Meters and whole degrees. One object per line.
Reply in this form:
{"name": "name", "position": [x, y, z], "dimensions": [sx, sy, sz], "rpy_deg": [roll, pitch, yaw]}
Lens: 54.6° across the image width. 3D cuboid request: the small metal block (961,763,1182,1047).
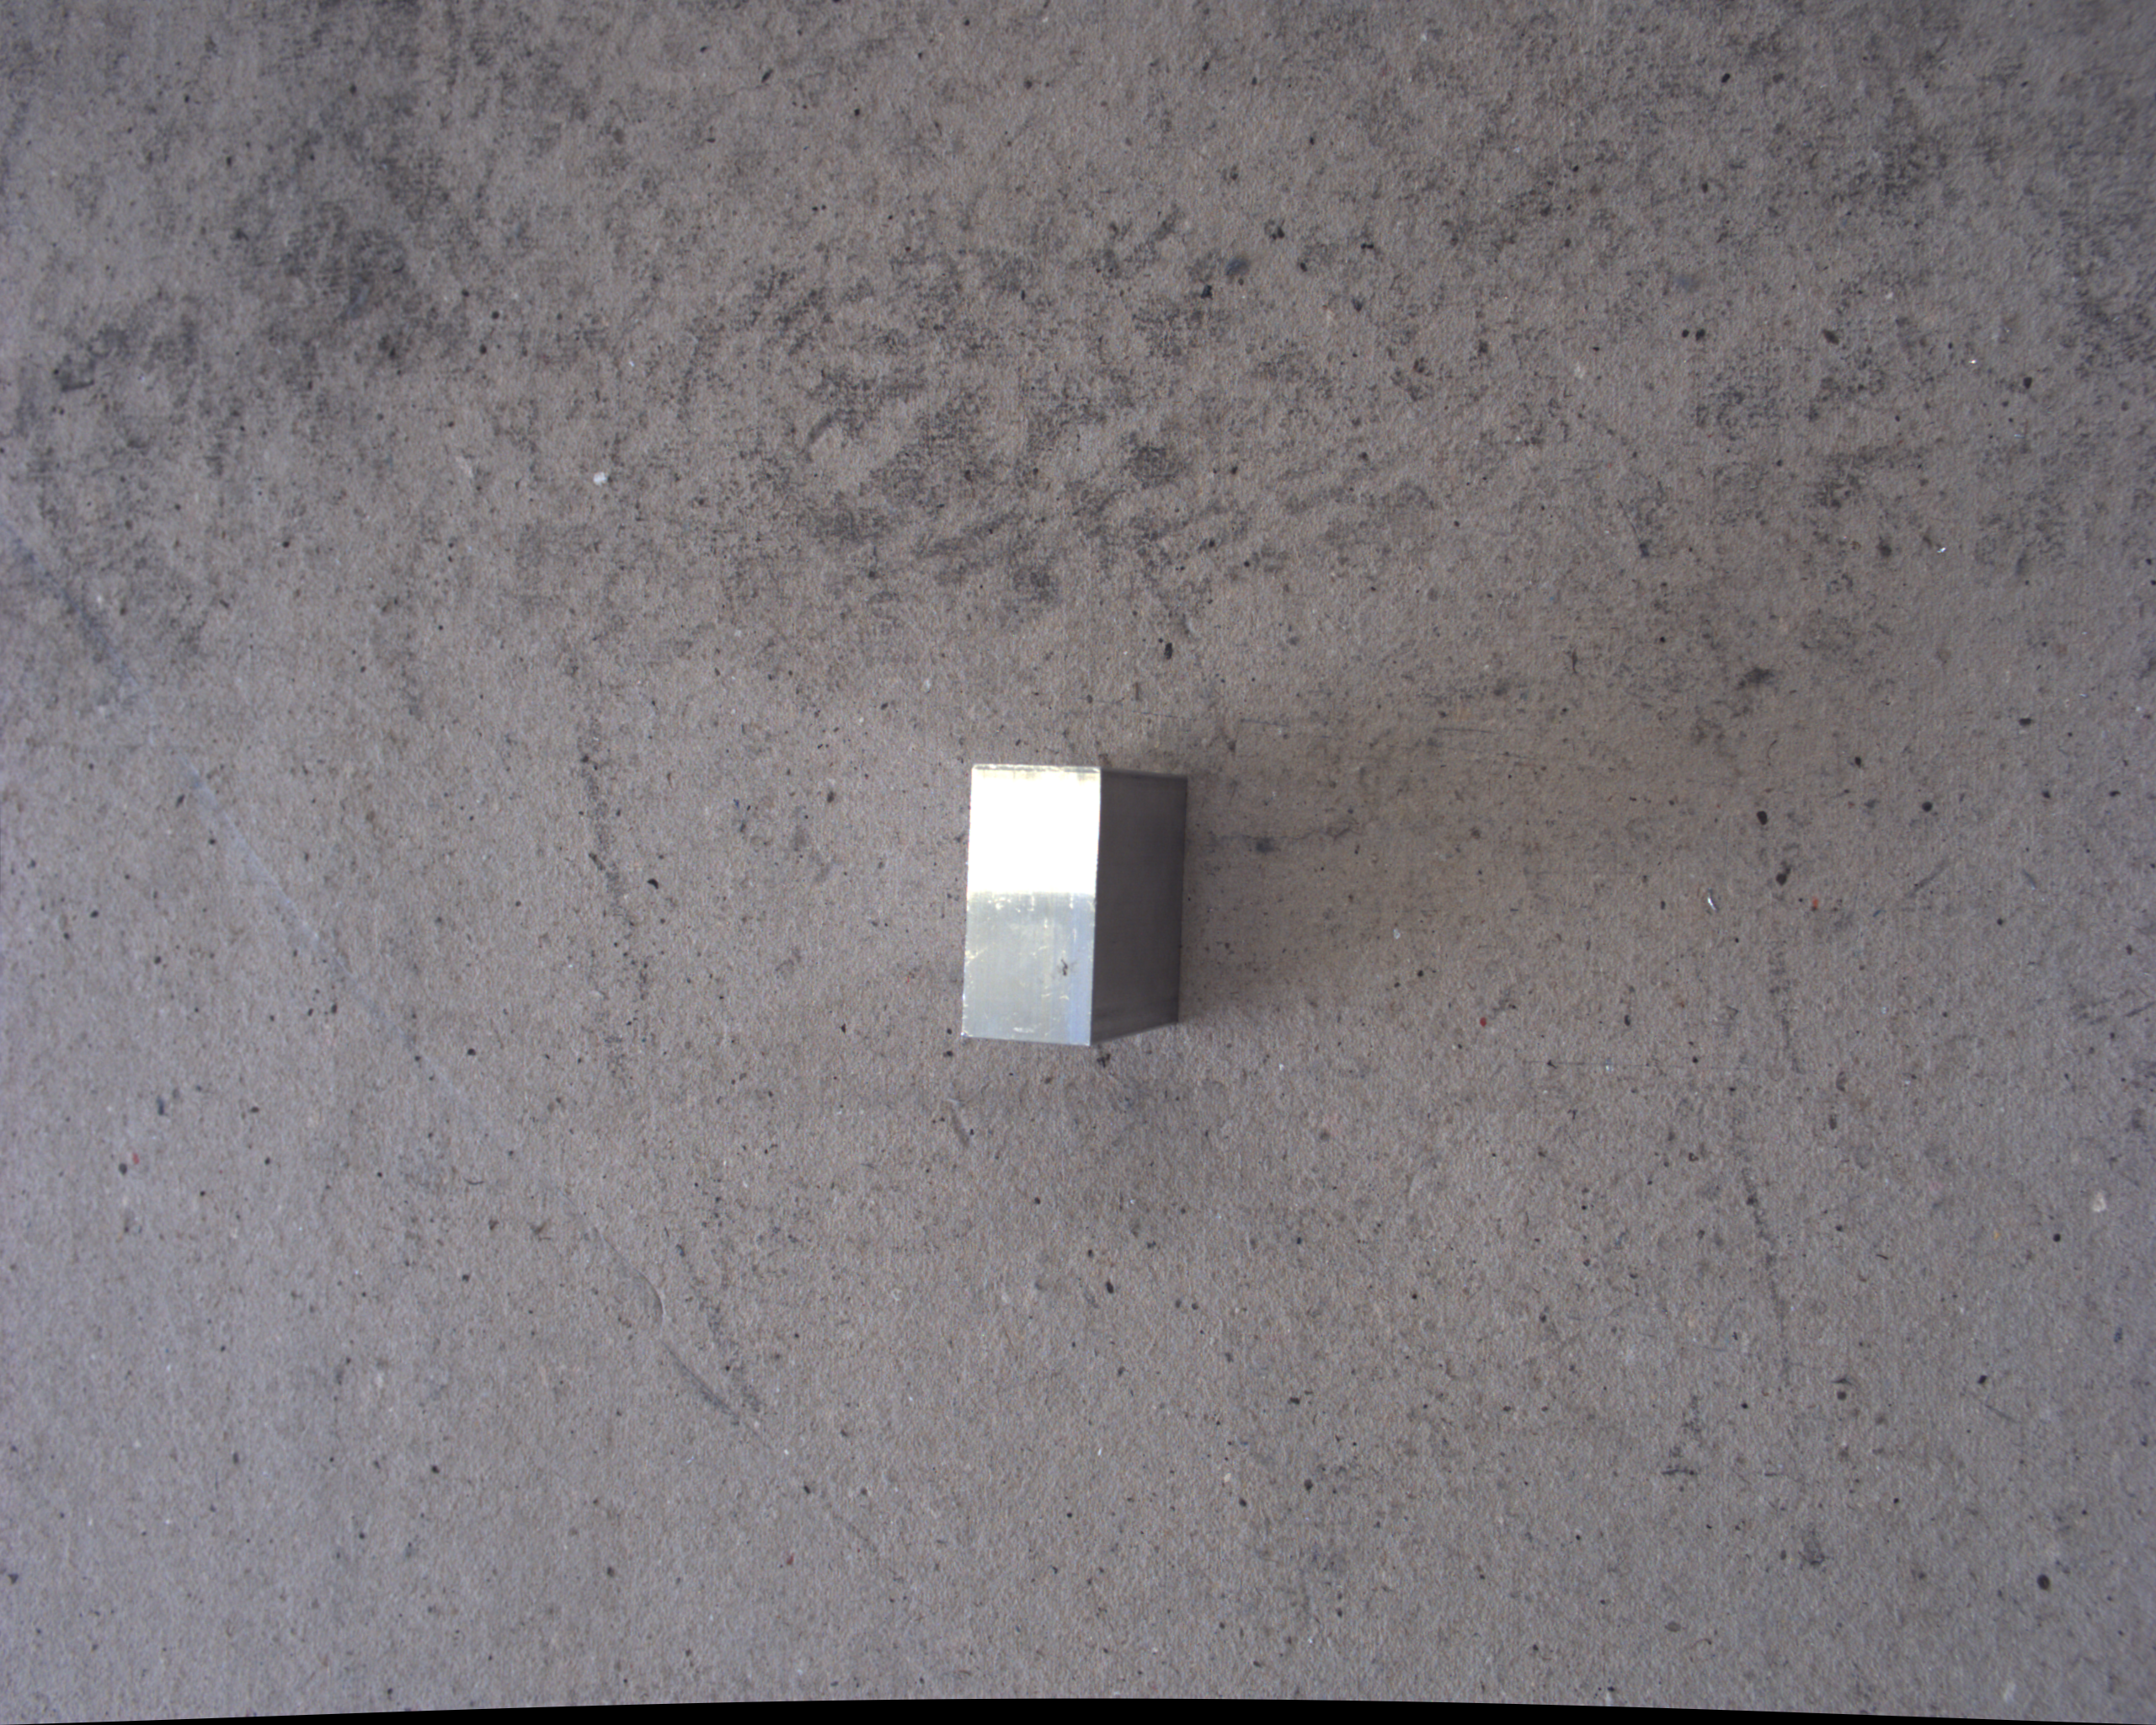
{"name": "small metal block", "position": [0.000, 0.007, 0.397], "dimensions": [0.025, 0.050, 0.050], "rpy_deg": [2, 91, 19]}
